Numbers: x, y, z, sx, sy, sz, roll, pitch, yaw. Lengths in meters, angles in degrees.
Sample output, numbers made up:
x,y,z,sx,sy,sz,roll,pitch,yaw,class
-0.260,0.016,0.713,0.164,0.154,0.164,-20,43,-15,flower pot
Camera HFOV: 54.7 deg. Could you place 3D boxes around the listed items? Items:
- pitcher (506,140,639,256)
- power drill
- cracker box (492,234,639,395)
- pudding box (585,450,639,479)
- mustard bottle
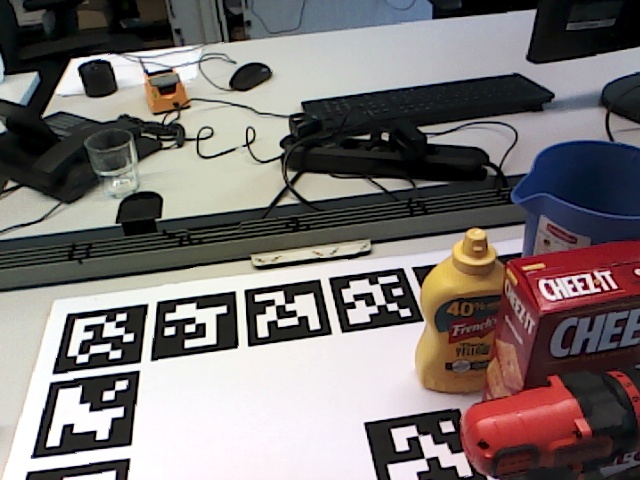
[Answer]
x,y,z,sx,sy,sz,roll,pitch,yaw,class
0.275,0.031,0.621,0.189,0.241,0.134,-5,38,3,pitcher
0.186,0.169,0.442,0.184,0.186,0.057,-8,35,-4,power drill
0.242,0.104,0.542,0.164,0.213,0.072,-10,37,-3,cracker box
0.244,0.177,0.536,0.114,0.089,0.039,-9,37,0,pudding box
0.144,0.058,0.622,0.096,0.191,0.058,1,40,8,mustard bottle
